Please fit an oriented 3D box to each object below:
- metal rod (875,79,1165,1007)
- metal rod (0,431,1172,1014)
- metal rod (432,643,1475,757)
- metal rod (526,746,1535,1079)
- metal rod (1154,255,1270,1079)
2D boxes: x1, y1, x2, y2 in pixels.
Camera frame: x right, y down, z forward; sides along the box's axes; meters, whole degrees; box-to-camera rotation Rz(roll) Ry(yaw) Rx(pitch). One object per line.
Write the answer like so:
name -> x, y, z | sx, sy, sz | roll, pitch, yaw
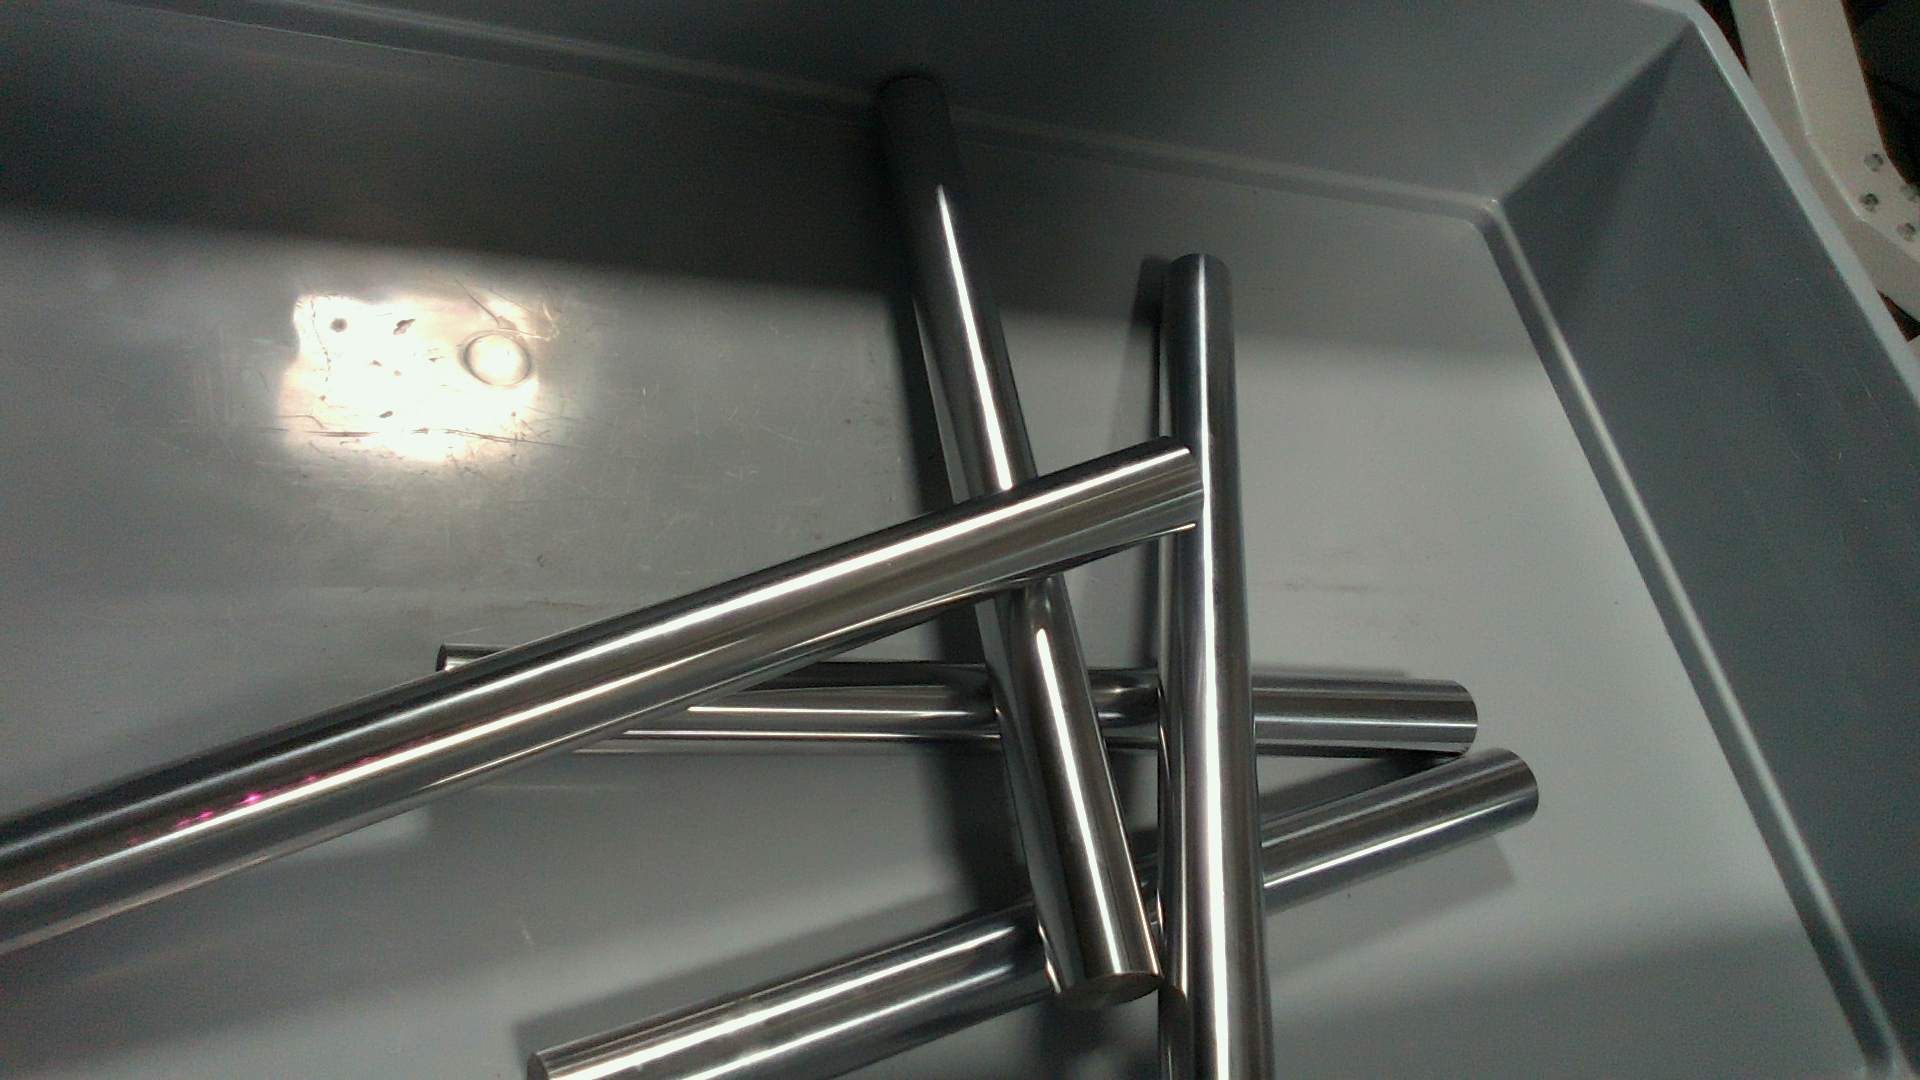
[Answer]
metal rod -> 0.008, -0.024, 0.385 | 0.025, 0.025, 0.300 | 6, 52, -25
metal rod -> -0.072, 0.031, 0.299 | 0.301, 0.025, 0.025 | -22, 73, -30
metal rod -> 0.019, 0.046, 0.370 | 0.301, 0.025, 0.025 | 5, 60, -26
metal rod -> 0.044, 0.096, 0.353 | 0.301, 0.025, 0.025 | -9, 66, -32
metal rod -> 0.068, 0.019, 0.388 | 0.025, 0.025, 0.300 | 22, 46, -15
